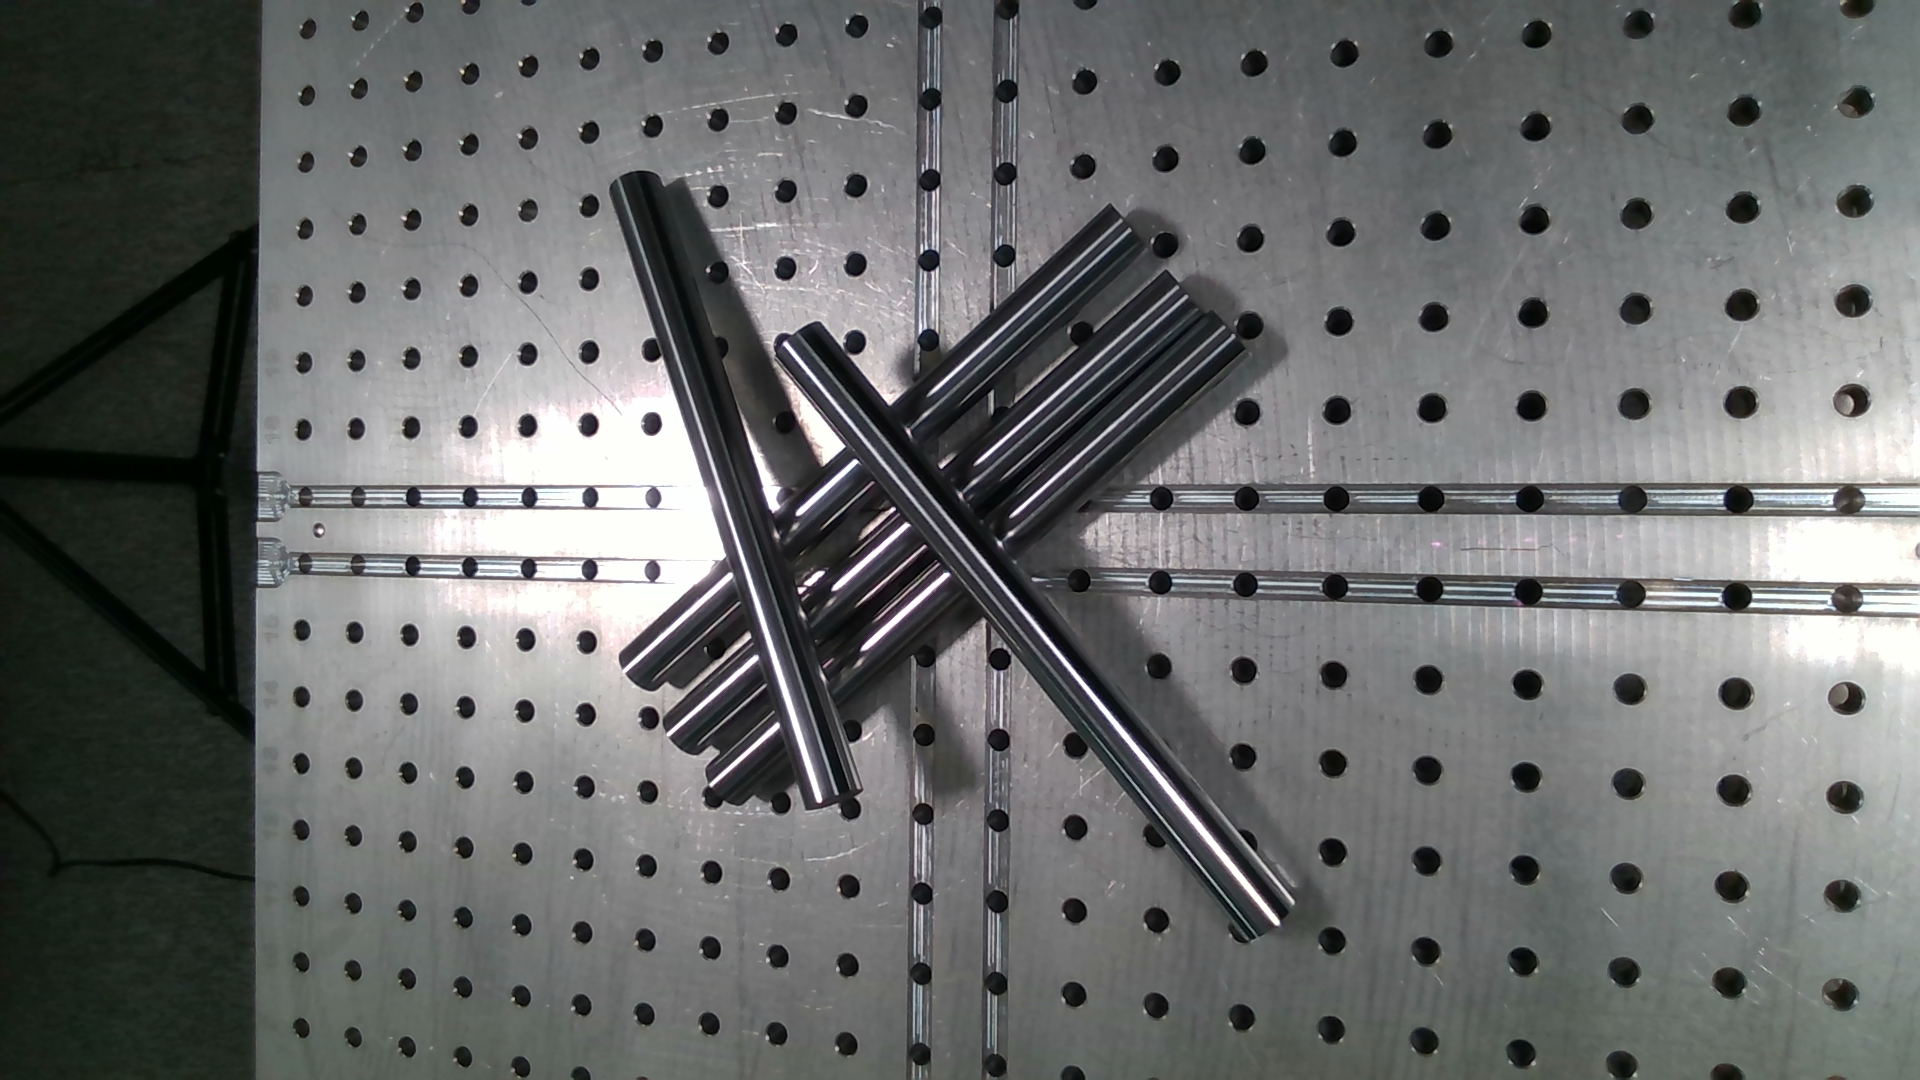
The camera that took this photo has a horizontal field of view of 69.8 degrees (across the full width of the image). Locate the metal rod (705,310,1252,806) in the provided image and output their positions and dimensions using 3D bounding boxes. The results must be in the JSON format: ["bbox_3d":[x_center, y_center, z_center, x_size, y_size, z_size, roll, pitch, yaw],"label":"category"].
[{"bbox_3d":[0.001,0.014,0.588,0.300,0.025,0.025,-42,77,16],"label":"metal rod"}]

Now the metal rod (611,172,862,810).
[{"bbox_3d":[-0.101,-0.029,0.603,0.025,0.025,0.299,-26,74,19],"label":"metal rod"}]

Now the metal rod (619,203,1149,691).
[{"bbox_3d":[-0.040,-0.034,0.602,0.300,0.025,0.025,-41,77,16],"label":"metal rod"}]

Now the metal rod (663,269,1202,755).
[{"bbox_3d":[-0.019,-0.005,0.595,0.300,0.025,0.025,-41,77,16],"label":"metal rod"}]

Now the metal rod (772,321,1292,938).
[{"bbox_3d":[0.027,0.033,0.557,0.025,0.025,0.300,-41,85,16],"label":"metal rod"}]
